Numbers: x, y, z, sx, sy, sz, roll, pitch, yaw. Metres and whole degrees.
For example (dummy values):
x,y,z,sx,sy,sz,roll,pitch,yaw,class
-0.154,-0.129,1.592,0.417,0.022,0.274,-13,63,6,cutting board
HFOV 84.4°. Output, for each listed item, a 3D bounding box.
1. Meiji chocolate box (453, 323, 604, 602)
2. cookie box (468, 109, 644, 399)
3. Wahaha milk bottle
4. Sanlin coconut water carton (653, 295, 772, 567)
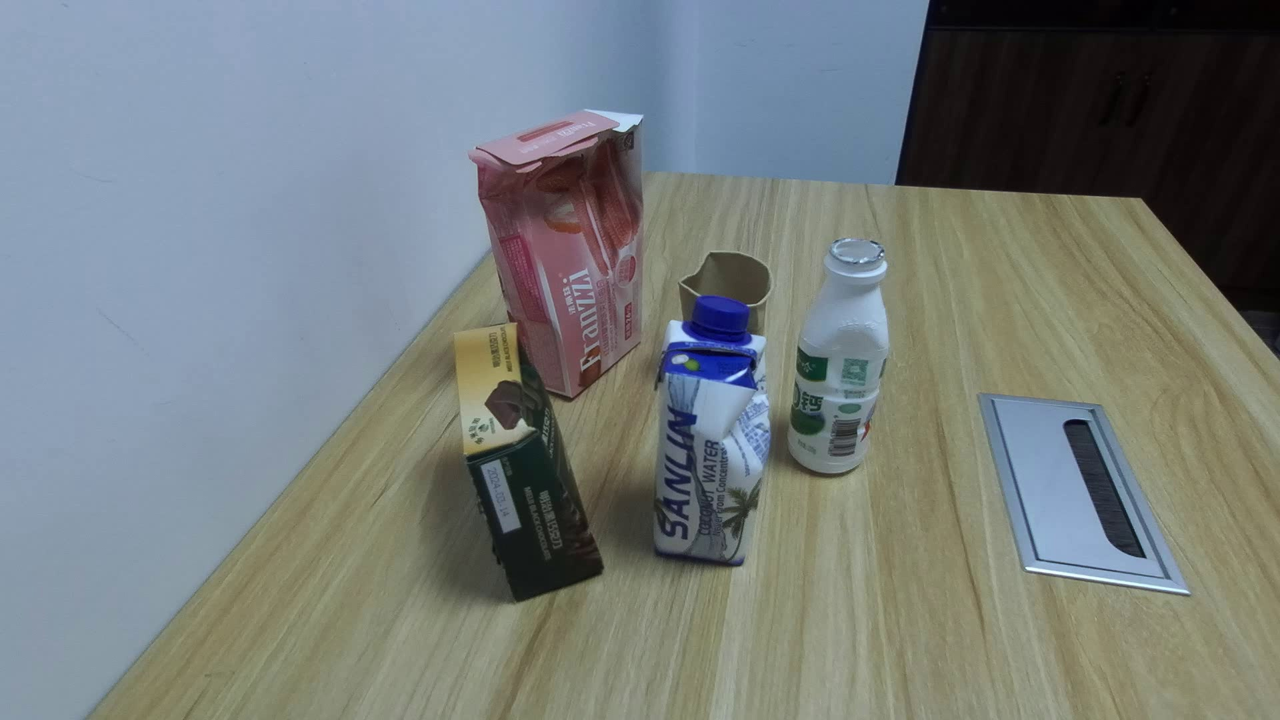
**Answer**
x,y,z,sx,sy,sz,roll,pitch,yaw,class
-0.064,0.053,0.395,0.058,0.111,0.113,-16,37,-12,Meiji chocolate box
-0.047,-0.070,0.501,0.055,0.184,0.119,24,44,33,cookie box
0.118,0.000,0.422,0.055,0.149,0.055,-3,36,3,Wahaha milk bottle
0.039,0.040,0.374,0.060,0.144,0.070,7,35,11,Sanlin coconut water carton
